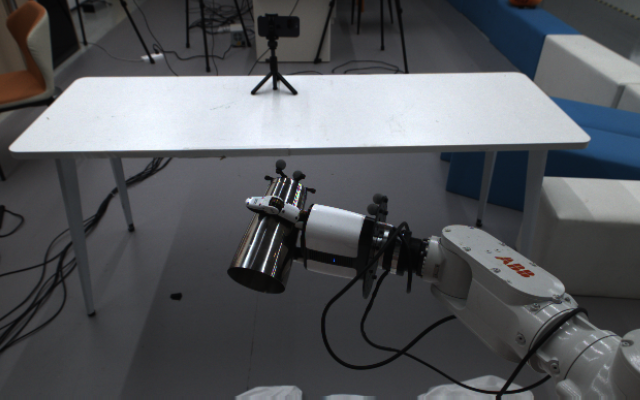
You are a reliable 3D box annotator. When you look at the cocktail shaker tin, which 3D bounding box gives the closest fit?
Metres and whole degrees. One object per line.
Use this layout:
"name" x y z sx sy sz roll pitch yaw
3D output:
"cocktail shaker tin" -0.074 0.051 0.763 0.093 0.093 0.170 10 60 12
